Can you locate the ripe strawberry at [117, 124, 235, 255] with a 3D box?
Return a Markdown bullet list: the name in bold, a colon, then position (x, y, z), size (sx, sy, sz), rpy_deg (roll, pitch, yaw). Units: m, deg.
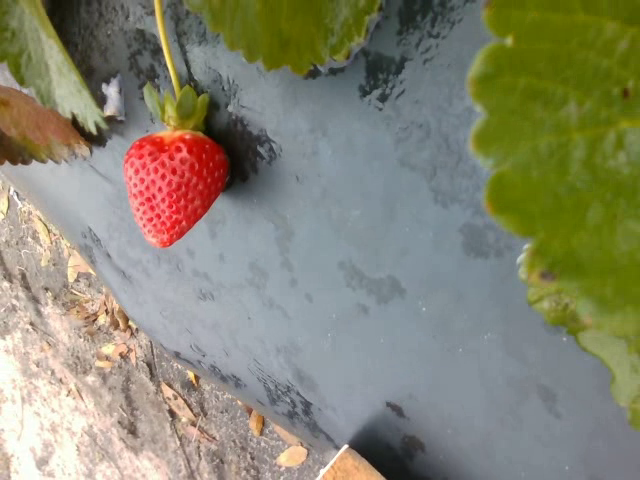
- **ripe strawberry**: position (-0.061, -0.021, 0.249), size (0.048, 0.054, 0.045), rpy_deg (8, 1, -29)
